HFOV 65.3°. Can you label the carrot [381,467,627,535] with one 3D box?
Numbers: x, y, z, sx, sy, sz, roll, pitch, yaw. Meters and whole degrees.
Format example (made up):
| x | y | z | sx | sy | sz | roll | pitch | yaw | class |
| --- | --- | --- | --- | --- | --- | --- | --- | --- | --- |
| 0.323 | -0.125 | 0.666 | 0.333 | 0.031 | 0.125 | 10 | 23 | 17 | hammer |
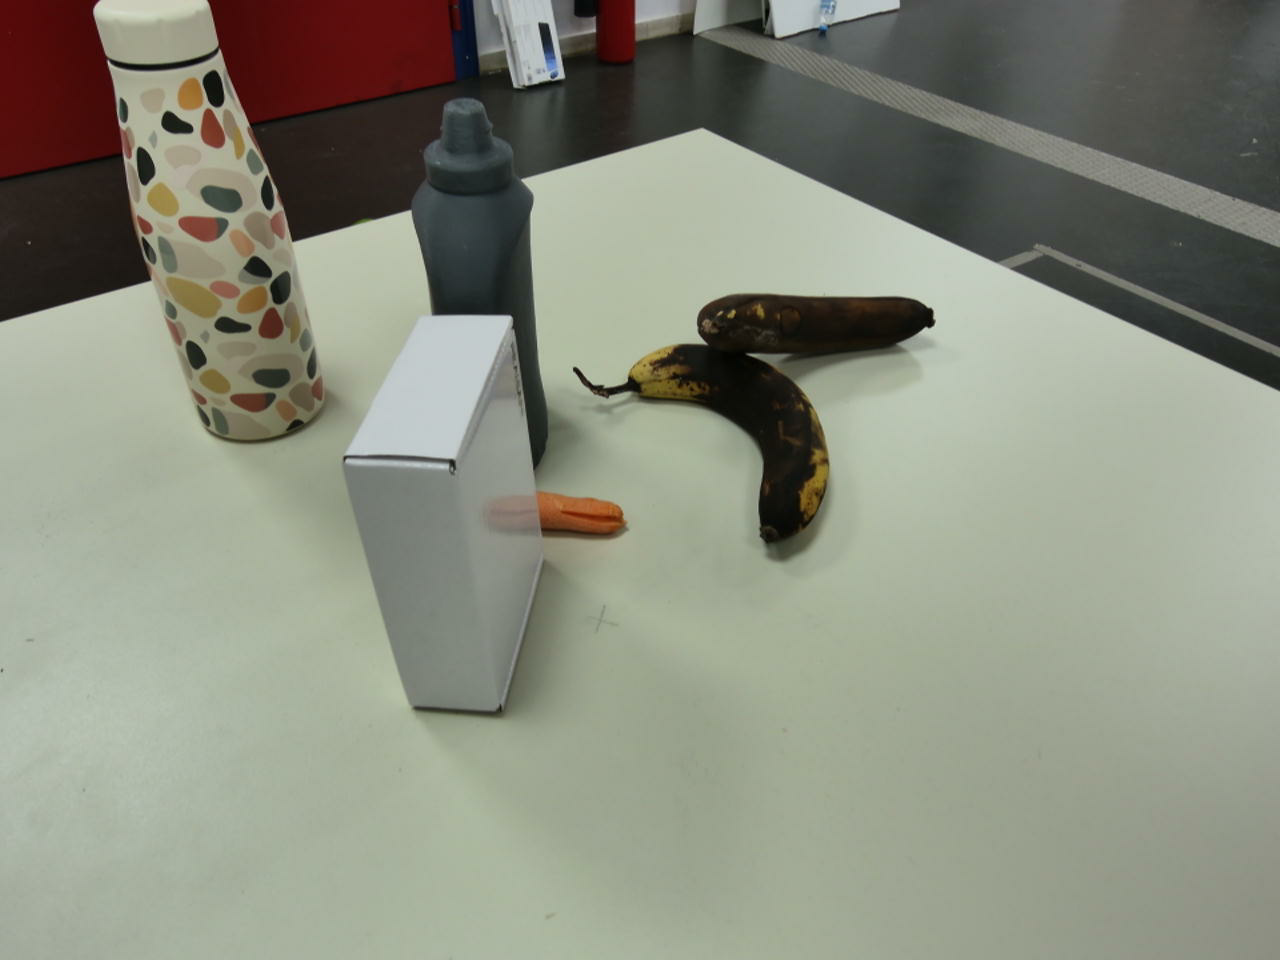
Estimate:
| x | y | z | sx | sy | sz | roll | pitch | yaw | class |
| --- | --- | --- | --- | --- | --- | --- | --- | --- | --- |
| -0.075 | 0.012 | 0.547 | 0.136 | 0.032 | 0.030 | 5 | 38 | 6 | carrot |
